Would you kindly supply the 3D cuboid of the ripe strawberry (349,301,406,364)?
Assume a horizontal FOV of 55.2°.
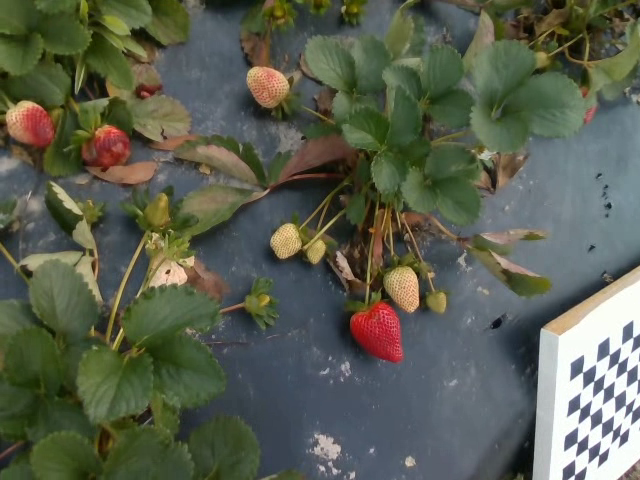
[{"bbox_3d":[0.052,0.079,0.517,0.050,0.059,0.034,-31,-17,-22],"label":"ripe strawberry"}]
